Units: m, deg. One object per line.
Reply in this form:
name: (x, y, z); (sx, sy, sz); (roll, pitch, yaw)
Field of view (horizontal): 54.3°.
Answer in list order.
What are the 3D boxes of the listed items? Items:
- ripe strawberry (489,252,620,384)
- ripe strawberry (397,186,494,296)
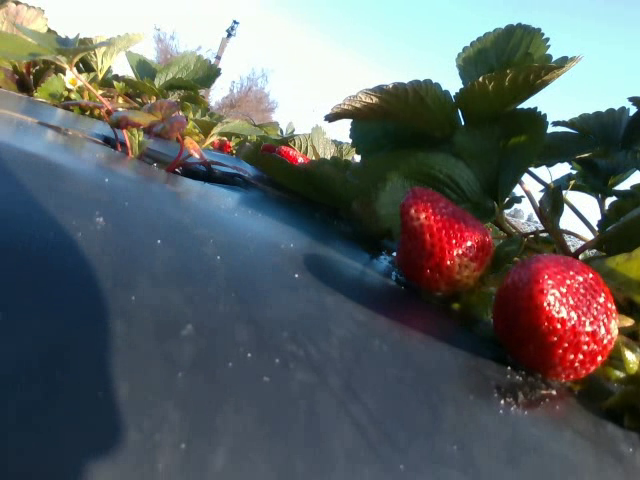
ripe strawberry: (0.072, 0.019, 0.185); (0.038, 0.043, 0.053); (-41, -33, 8)
ripe strawberry: (0.049, 0.001, 0.250); (0.039, 0.054, 0.048); (-37, 4, 42)
